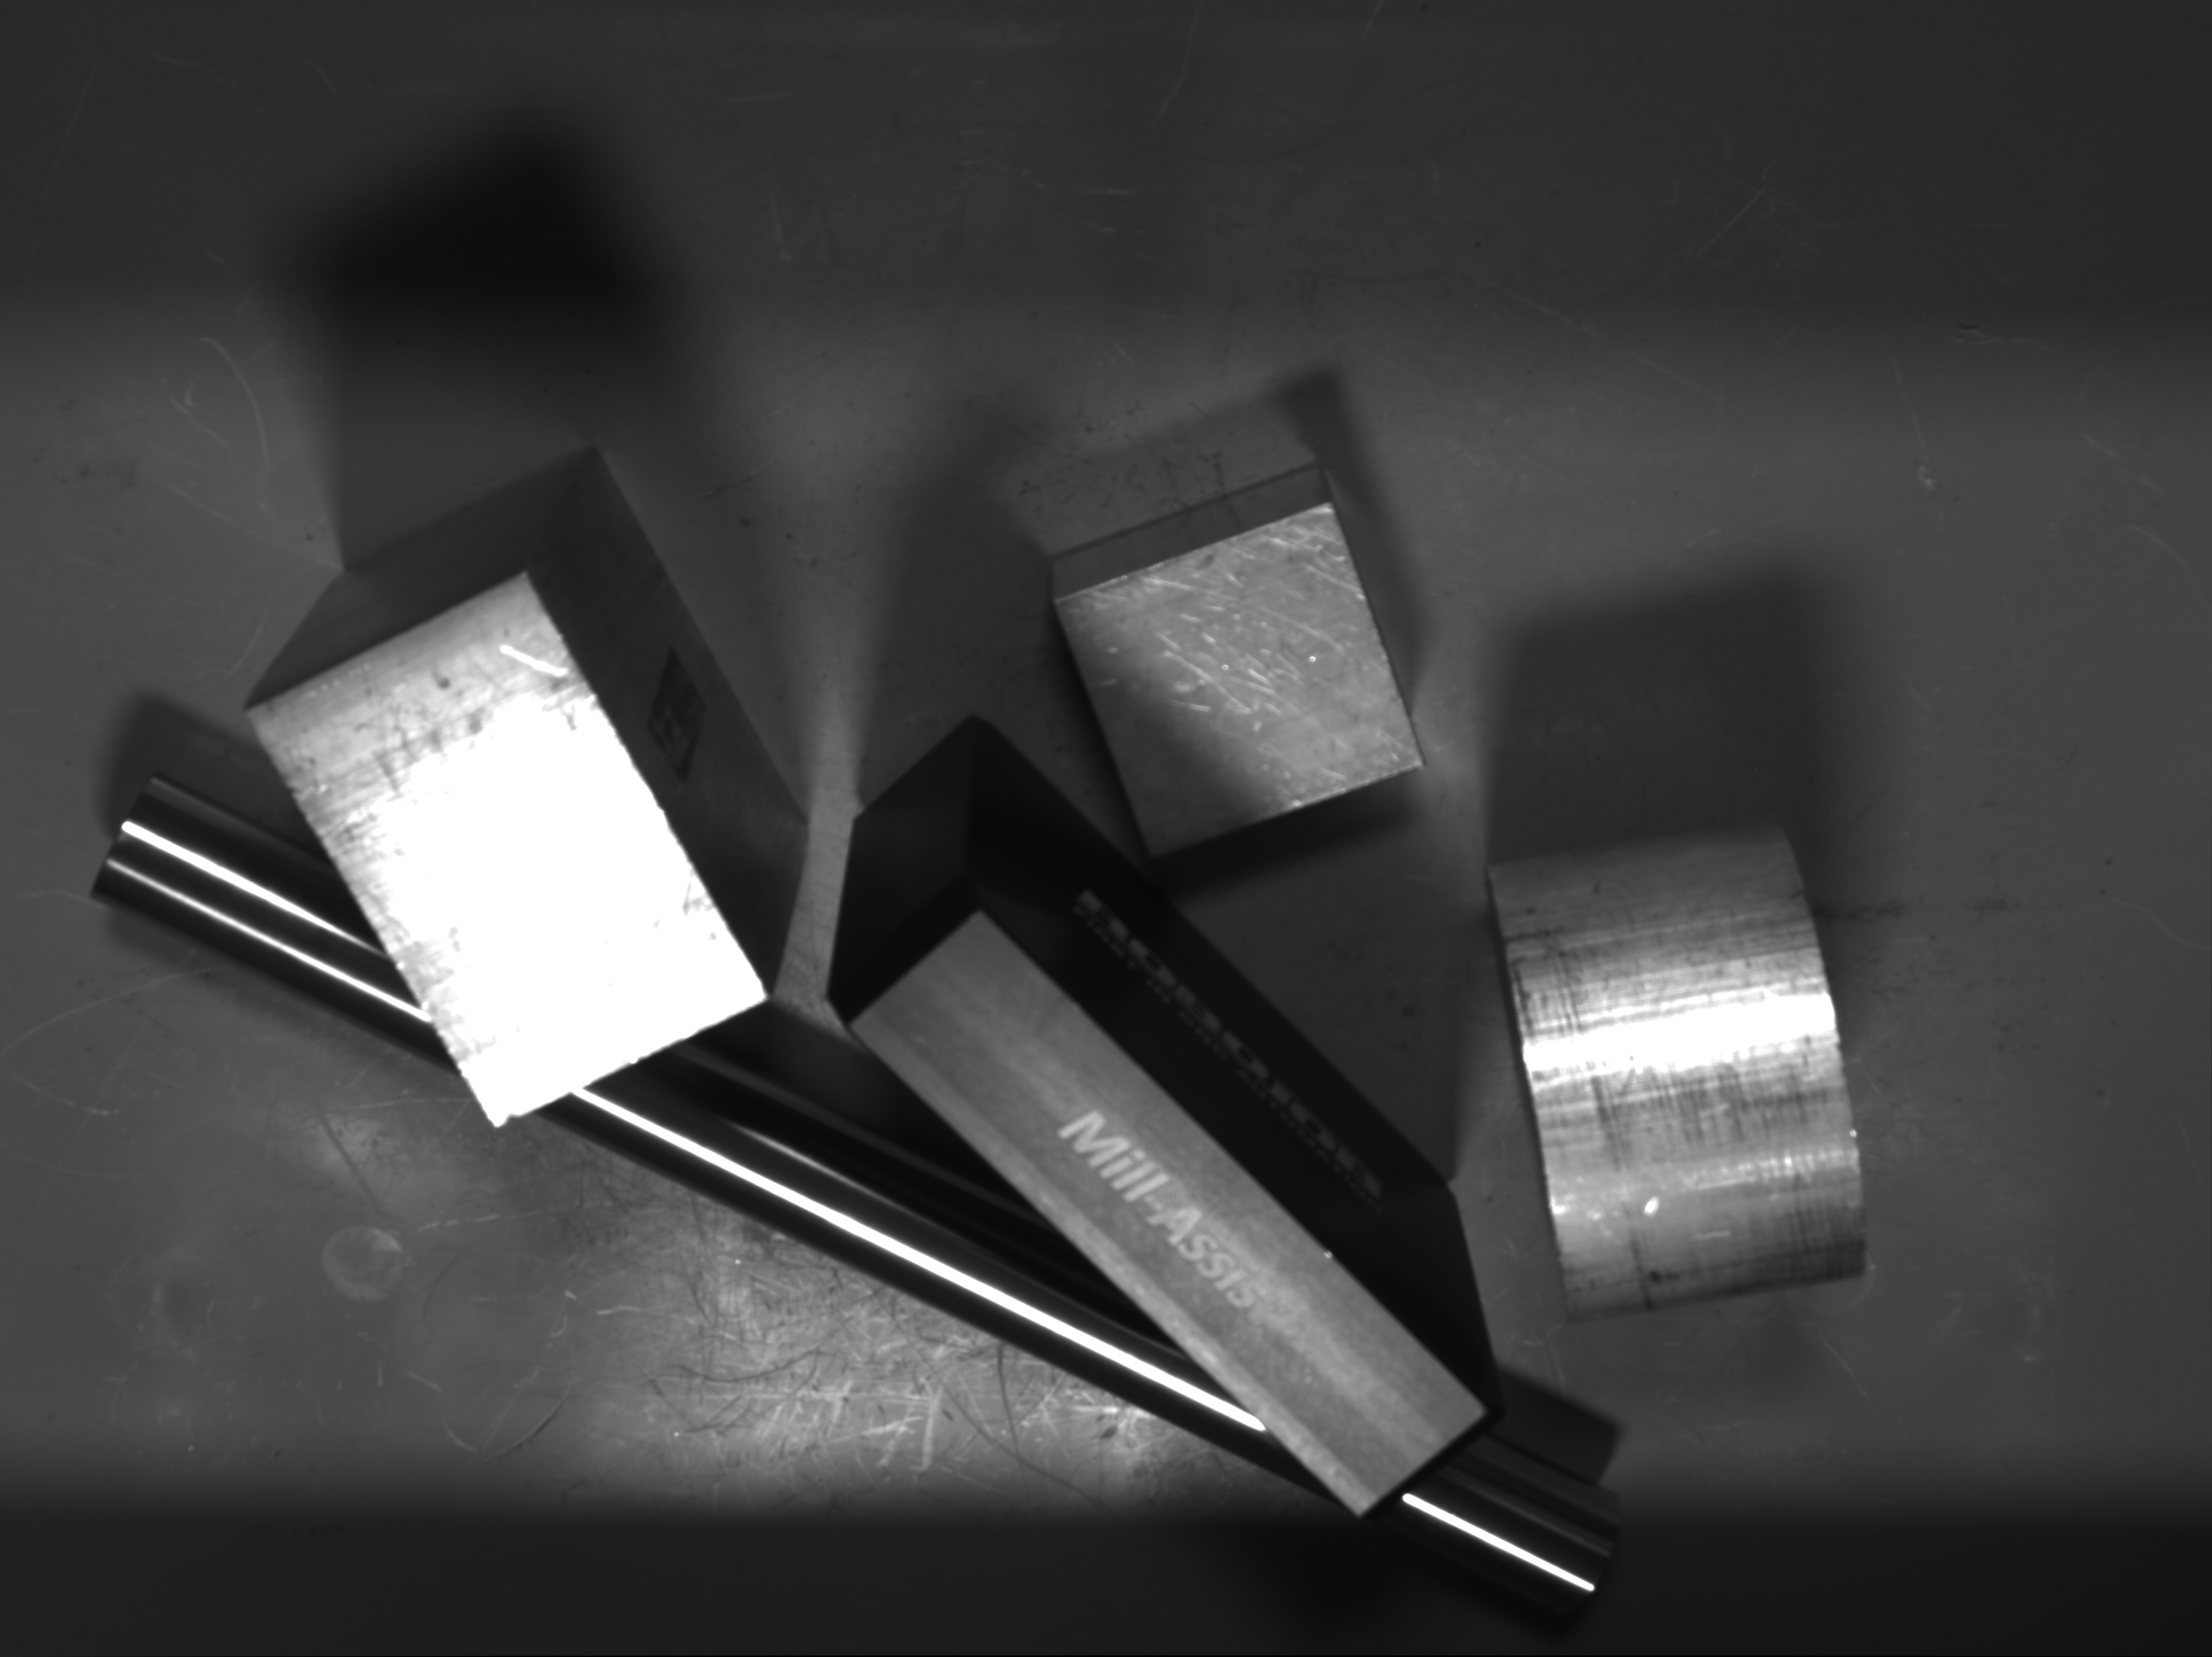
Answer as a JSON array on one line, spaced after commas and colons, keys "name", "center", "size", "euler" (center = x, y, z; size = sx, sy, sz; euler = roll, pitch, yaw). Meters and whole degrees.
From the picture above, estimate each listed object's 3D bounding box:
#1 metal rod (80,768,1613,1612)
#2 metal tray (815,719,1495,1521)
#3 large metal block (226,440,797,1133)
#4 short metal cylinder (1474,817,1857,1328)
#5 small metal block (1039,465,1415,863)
[{"name": "metal rod", "center": [-0.042, 0.069, 0.666], "size": [0.300, 0.025, 0.025], "euler": [27, 107, -10]}, {"name": "metal tray", "center": [0.009, 0.048, 0.624], "size": [0.030, 0.090, 0.130], "euler": [-42, 105, 13]}, {"name": "large metal block", "center": [-0.095, -0.009, 0.608], "size": [0.050, 0.080, 0.080], "euler": [-25, 108, 8]}, {"name": "short metal cylinder", "center": [0.095, 0.042, 0.629], "size": [0.050, 0.080, 0.080], "euler": [-11, 110, 4]}, {"name": "small metal block", "center": [0.021, -0.028, 0.631], "size": [0.050, 0.025, 0.050], "euler": [-19, 109, 6]}]
